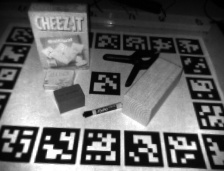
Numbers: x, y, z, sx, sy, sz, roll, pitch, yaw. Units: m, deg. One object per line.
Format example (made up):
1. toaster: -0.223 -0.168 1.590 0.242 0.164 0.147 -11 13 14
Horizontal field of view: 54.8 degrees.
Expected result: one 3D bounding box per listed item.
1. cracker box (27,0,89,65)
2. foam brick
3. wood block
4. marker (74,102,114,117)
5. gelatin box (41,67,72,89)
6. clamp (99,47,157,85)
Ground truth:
1. cracker box: -0.159 -0.162 0.688 0.165 0.214 0.071 0 51 -6
2. foam brick: -0.141 0.035 0.646 0.078 0.051 0.052 -18 57 -17
3. wood block: 0.112 0.010 0.668 0.089 0.091 0.207 30 53 21
4. marker: -0.053 0.072 0.644 0.122 0.020 0.019 -13 56 -15
5. gelatin box: -0.180 -0.023 0.705 0.089 0.030 0.073 2 54 -3
6. clamp: 0.077 -0.096 0.776 0.204 0.037 0.163 -23 58 -20
